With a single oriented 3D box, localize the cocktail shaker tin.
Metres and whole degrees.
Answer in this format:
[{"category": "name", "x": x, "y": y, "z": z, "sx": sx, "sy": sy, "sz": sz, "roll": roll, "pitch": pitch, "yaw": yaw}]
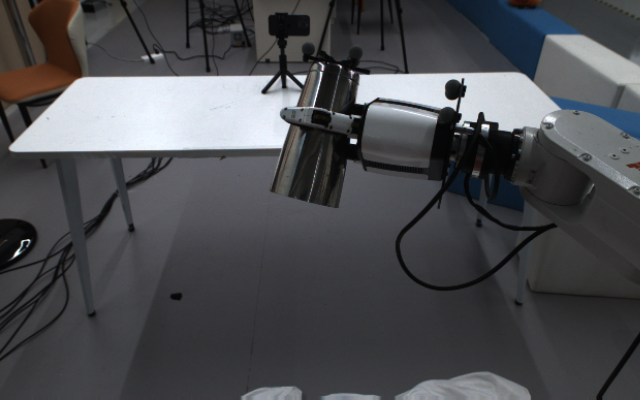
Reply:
[{"category": "cocktail shaker tin", "x": -0.001, "y": -0.084, "z": 0.622, "sx": 0.093, "sy": 0.170, "sz": 0.093, "roll": 14, "pitch": 2, "yaw": 0}]
